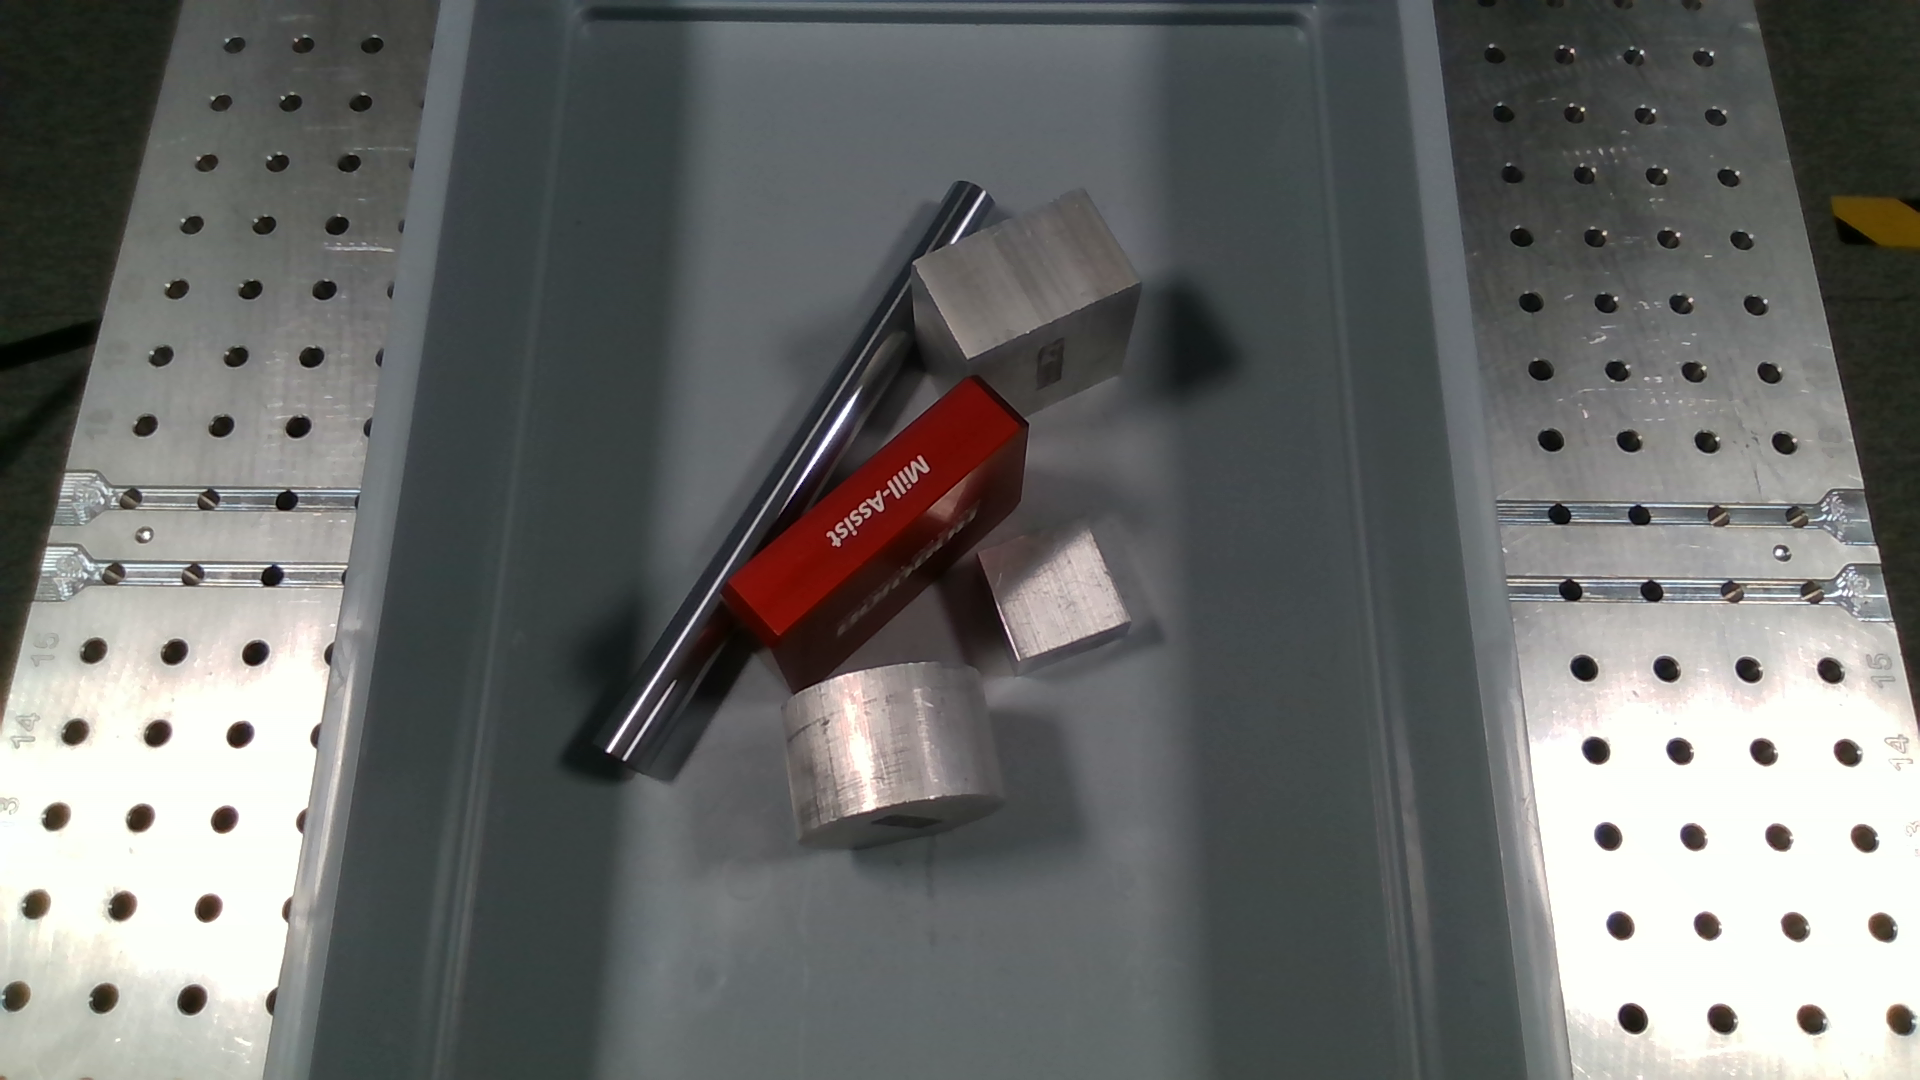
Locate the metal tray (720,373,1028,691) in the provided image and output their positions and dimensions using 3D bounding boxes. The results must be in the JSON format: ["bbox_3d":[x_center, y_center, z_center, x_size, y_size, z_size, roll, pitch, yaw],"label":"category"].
[{"bbox_3d":[-0.031,0.000,0.551,0.130,0.090,0.030,-42,76,-13],"label":"metal tray"}]

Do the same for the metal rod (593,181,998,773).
[{"bbox_3d":[-0.065,-0.035,0.600,0.025,0.025,0.299,27,73,9],"label":"metal rod"}]

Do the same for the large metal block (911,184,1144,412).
[{"bbox_3d":[0.027,-0.095,0.592,0.080,0.080,0.050,-25,72,-9],"label":"large metal block"}]

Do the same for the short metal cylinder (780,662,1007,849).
[{"bbox_3d":[-0.026,0.084,0.528,0.080,0.080,0.050,-11,70,-4],"label":"short metal cylinder"}]

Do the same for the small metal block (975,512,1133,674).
[{"bbox_3d":[0.038,0.023,0.578,0.050,0.025,0.050,-19,71,-7],"label":"small metal block"}]
